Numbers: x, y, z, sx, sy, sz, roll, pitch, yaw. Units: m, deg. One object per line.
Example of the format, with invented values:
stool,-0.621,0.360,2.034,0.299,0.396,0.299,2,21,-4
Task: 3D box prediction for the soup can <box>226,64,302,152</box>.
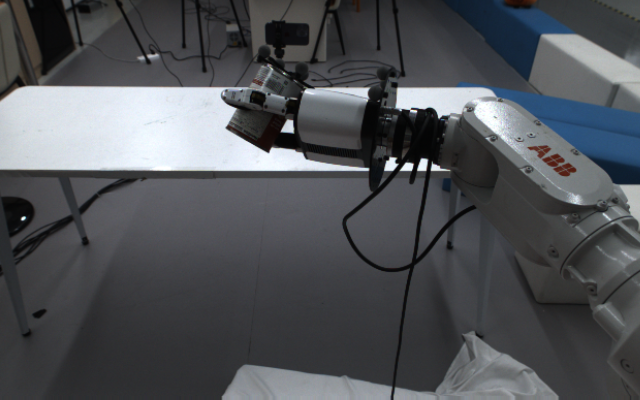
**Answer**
soup can,-0.076,-0.125,0.659,0.067,0.101,0.067,31,1,-1
